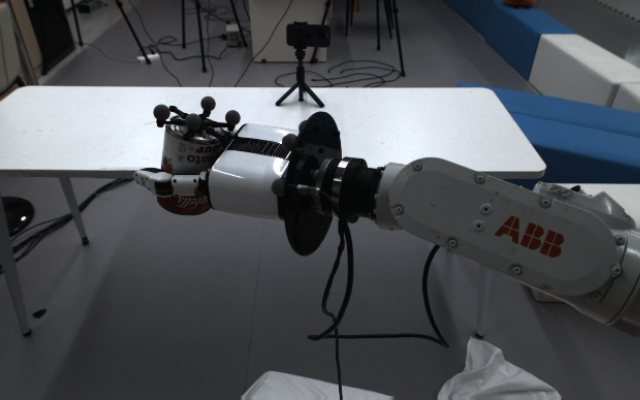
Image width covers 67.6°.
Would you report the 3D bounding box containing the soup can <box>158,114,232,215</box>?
[{"bbox_3d":[-0.154,-0.040,0.576,0.067,0.101,0.067,13,31,-8],"label":"soup can"}]
